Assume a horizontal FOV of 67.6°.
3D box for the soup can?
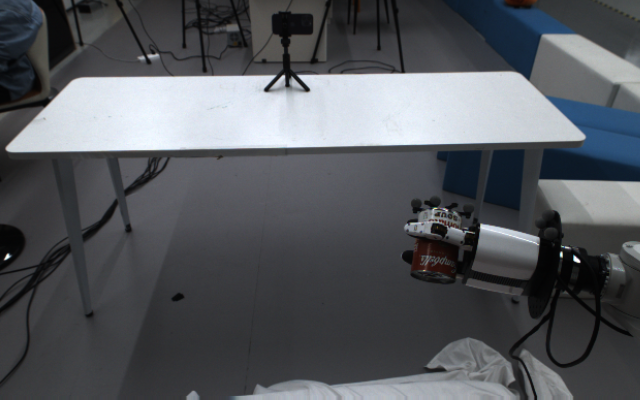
[{"bbox_3d":[0.178,0.069,0.733,0.067,0.067,0.101,9,70,10],"label":"soup can"}]
